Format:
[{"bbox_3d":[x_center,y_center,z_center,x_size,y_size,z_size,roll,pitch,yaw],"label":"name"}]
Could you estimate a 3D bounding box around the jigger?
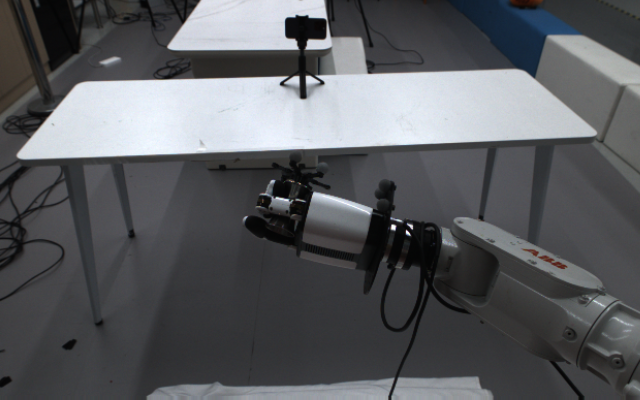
[{"bbox_3d":[-0.042,0.010,0.667,0.043,0.043,0.071,15,70,18],"label":"jigger"}]
